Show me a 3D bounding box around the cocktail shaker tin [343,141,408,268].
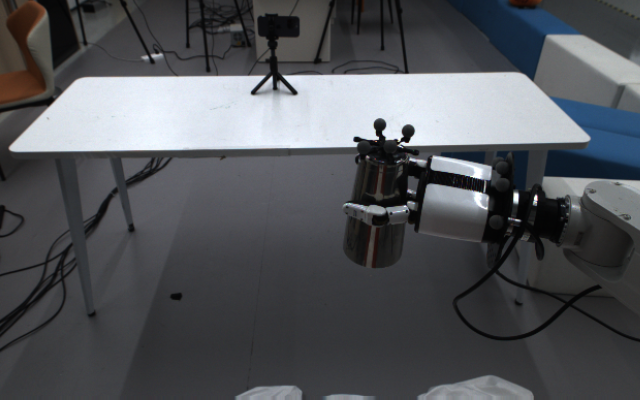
[{"bbox_3d":[0.086,0.003,0.693,0.093,0.170,0.093,2,36,-1],"label":"cocktail shaker tin"}]
